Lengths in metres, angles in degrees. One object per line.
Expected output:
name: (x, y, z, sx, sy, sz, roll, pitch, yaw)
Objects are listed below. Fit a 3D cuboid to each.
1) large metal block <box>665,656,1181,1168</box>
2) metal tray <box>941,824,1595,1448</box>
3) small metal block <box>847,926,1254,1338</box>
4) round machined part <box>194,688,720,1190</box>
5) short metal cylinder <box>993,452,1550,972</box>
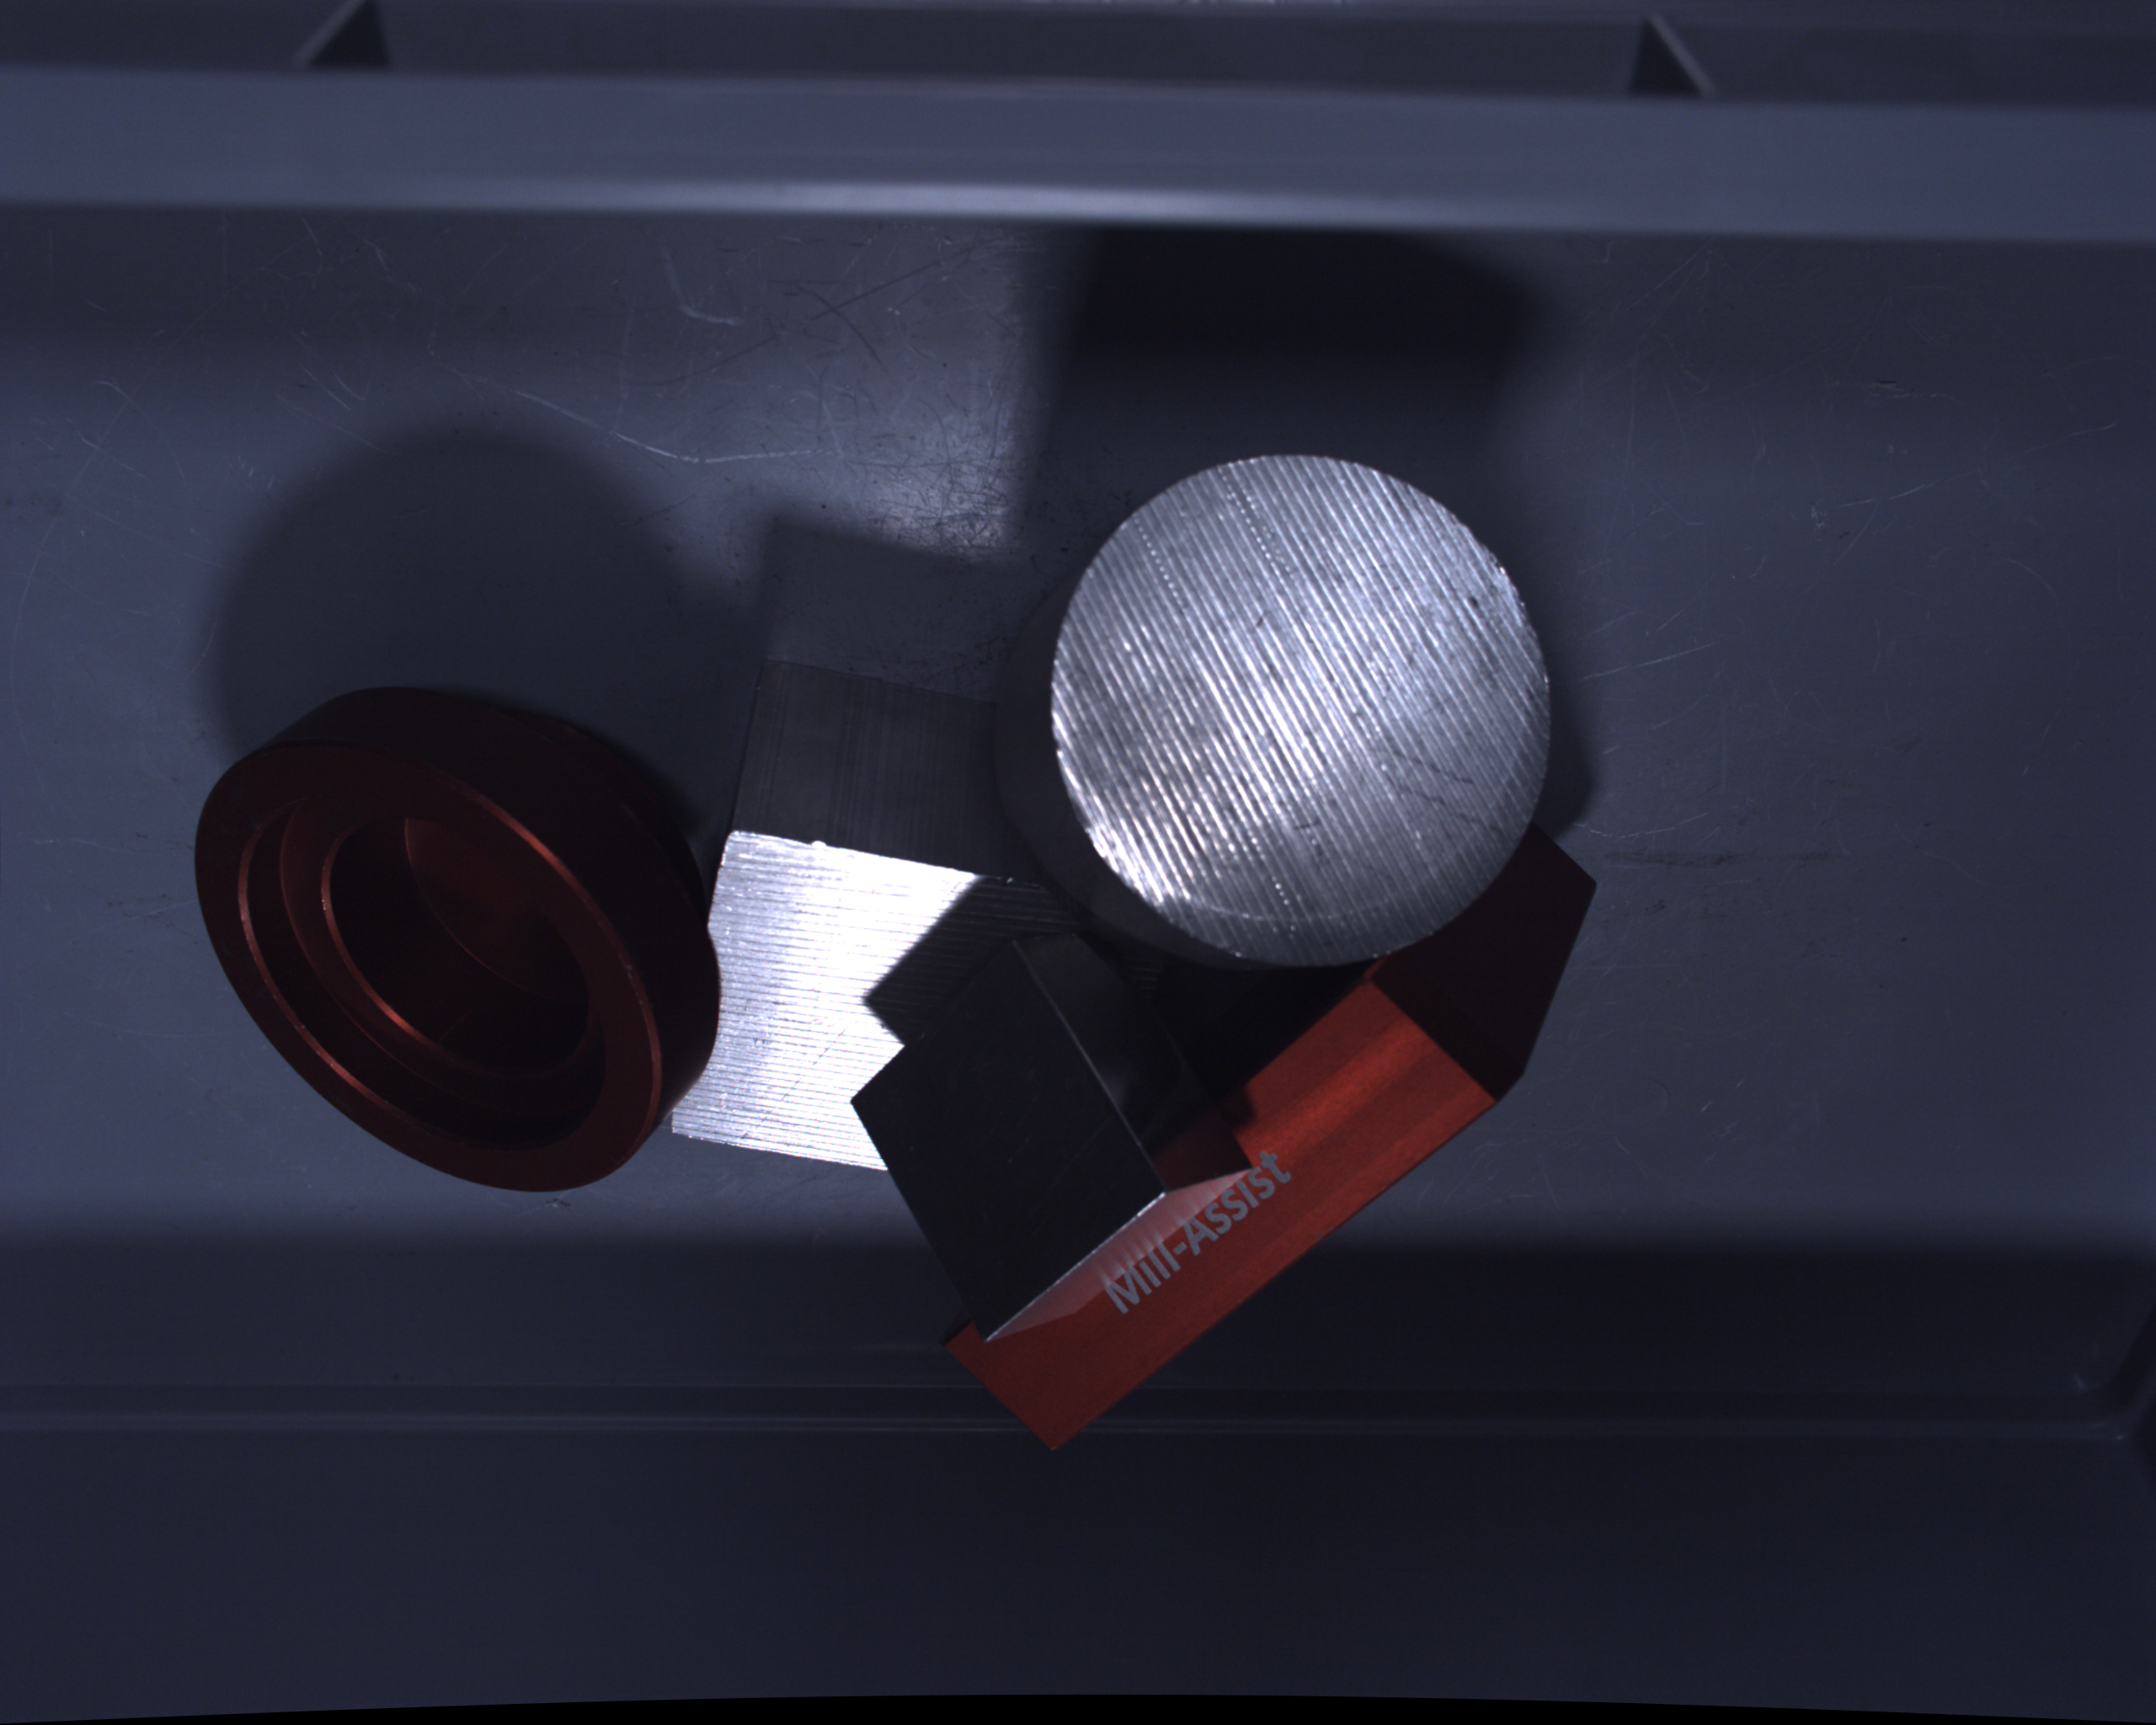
large metal block: (-0.030, 0.014, 0.403, 0.081, 0.050, 0.079, 11, 129, -10)
metal tray: (0.037, 0.048, 0.404, 0.030, 0.090, 0.129, 44, 121, 0)
small metal block: (-0.006, 0.046, 0.362, 0.025, 0.050, 0.050, -4, 146, -52)
round machined part: (-0.109, 0.010, 0.388, 0.098, 0.042, 0.097, 13, 127, 18)
short metal cylinder: (0.030, -0.022, 0.344, 0.081, 0.080, 0.050, 12, 173, -11)
